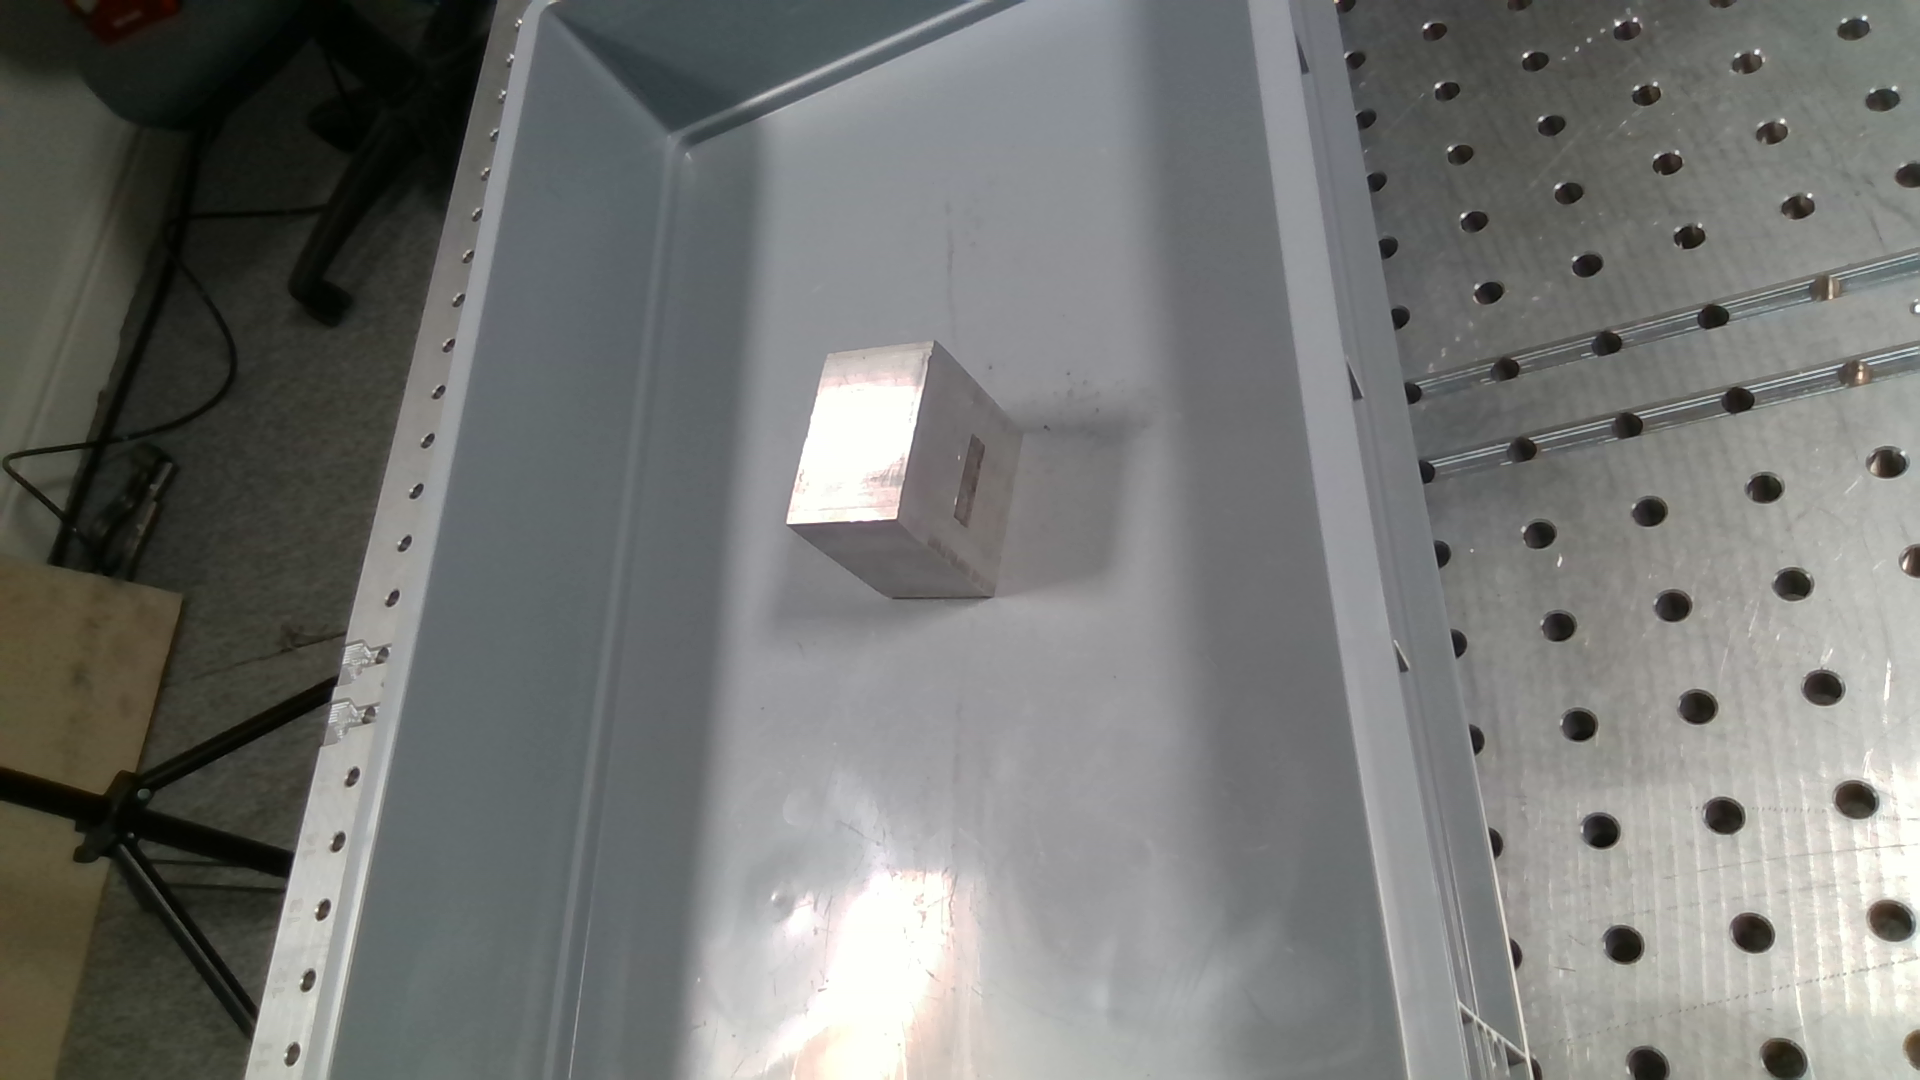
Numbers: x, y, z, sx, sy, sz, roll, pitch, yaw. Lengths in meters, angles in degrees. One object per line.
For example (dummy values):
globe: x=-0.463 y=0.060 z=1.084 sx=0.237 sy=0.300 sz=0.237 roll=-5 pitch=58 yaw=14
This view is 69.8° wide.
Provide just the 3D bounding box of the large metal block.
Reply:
large metal block: x=-0.021 y=-0.026 z=0.574 sx=0.050 sy=0.080 sz=0.080 roll=-2 pitch=64 yaw=31
